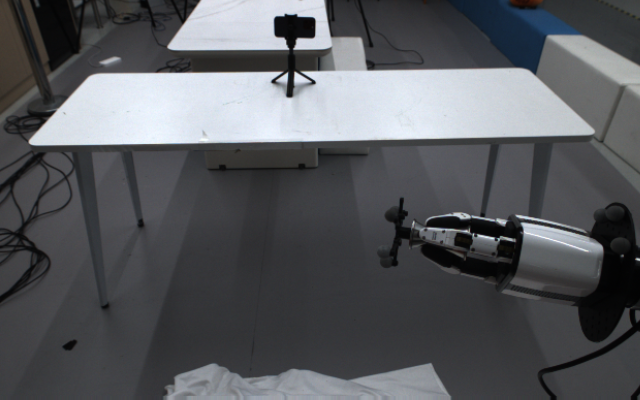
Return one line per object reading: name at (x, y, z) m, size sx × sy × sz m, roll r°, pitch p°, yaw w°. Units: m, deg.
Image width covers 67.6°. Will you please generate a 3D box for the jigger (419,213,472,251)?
jigger at (0.153, 0.043, 0.595) m, size 0.071 × 0.043 × 0.043 m, roll 8°, pitch 35°, yaw 15°
